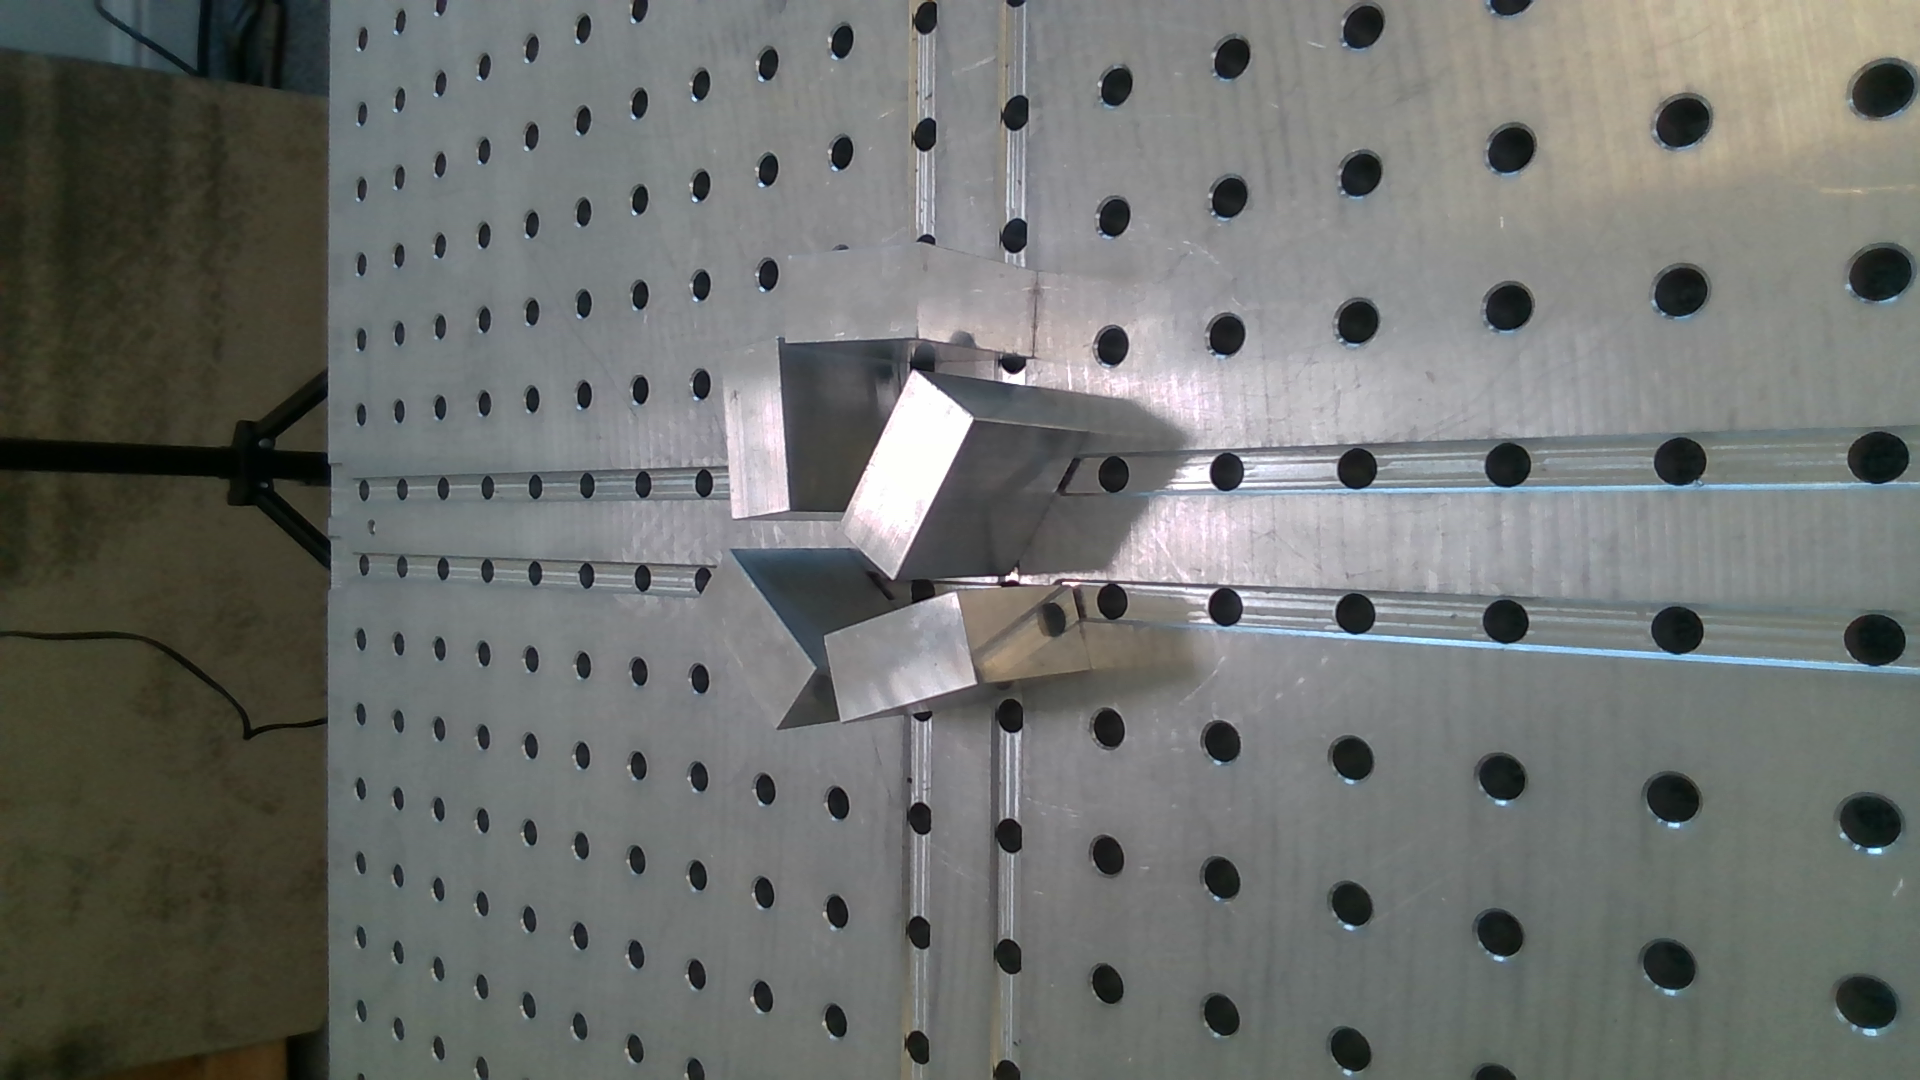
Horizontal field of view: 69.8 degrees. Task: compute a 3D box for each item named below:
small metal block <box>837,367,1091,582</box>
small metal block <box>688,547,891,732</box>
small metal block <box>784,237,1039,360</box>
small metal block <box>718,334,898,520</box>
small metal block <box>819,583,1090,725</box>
[{"bbox_3d":[0.001,-0.017,0.376,0.025,0.050,0.050,41,116,33],"label":"small metal block"},{"bbox_3d":[-0.045,0.028,0.414,0.050,0.050,0.025,50,119,28],"label":"small metal block"},{"bbox_3d":[-0.013,-0.066,0.388,0.050,0.050,0.025,4,93,41],"label":"small metal block"},{"bbox_3d":[-0.044,-0.032,0.413,0.025,0.050,0.050,-7,86,40],"label":"small metal block"},{"bbox_3d":[-0.001,0.031,0.378,0.050,0.050,0.025,-21,77,38],"label":"small metal block"}]
